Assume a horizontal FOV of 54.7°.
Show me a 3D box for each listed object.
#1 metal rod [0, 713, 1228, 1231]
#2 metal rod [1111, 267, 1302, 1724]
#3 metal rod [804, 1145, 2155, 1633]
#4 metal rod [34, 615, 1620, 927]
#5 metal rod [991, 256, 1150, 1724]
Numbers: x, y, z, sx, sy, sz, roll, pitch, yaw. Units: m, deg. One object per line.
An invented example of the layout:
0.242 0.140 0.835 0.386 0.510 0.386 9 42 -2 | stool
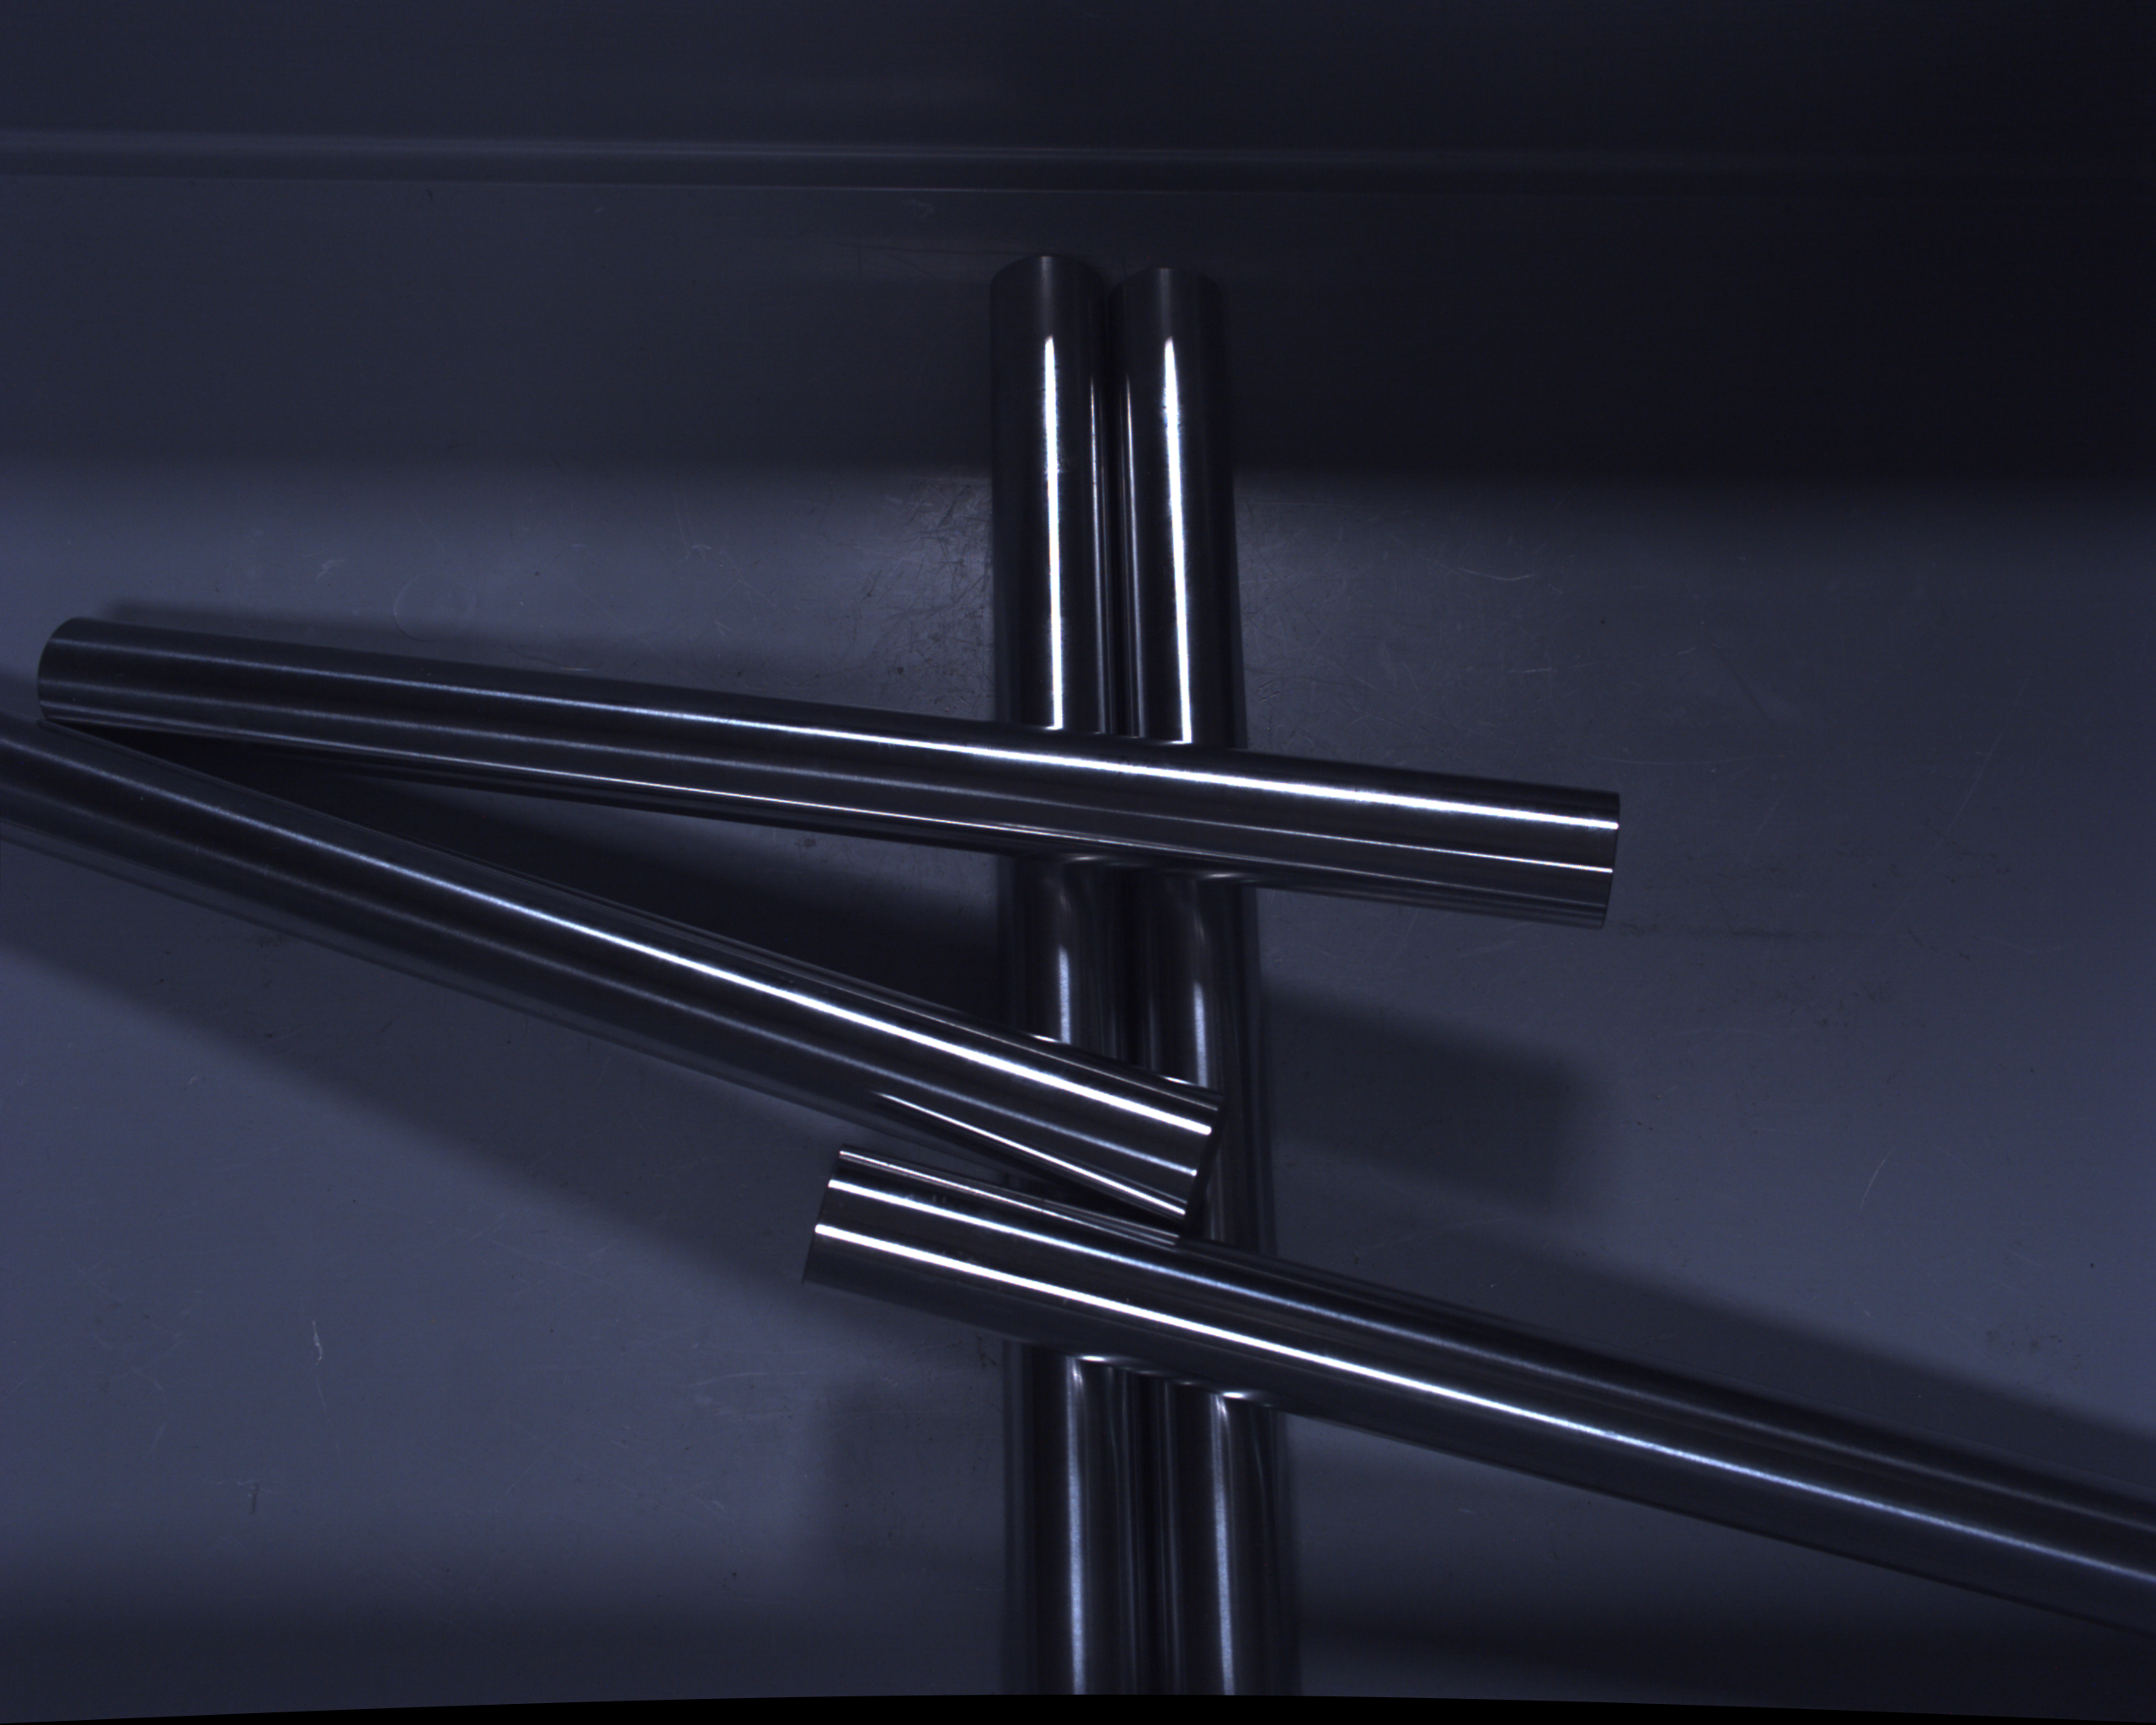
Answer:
-0.120 0.010 0.389 0.301 0.025 0.025 16 71 11 | metal rod
0.023 0.019 0.400 0.025 0.025 0.299 -1 70 -1 | metal rod
0.103 0.098 0.355 0.302 0.025 0.025 15 71 -1 | metal rod
-0.053 -0.019 0.394 0.301 0.025 0.025 7 70 9 | metal rod
-0.003 0.017 0.400 0.025 0.025 0.299 -1 70 -1 | metal rod
